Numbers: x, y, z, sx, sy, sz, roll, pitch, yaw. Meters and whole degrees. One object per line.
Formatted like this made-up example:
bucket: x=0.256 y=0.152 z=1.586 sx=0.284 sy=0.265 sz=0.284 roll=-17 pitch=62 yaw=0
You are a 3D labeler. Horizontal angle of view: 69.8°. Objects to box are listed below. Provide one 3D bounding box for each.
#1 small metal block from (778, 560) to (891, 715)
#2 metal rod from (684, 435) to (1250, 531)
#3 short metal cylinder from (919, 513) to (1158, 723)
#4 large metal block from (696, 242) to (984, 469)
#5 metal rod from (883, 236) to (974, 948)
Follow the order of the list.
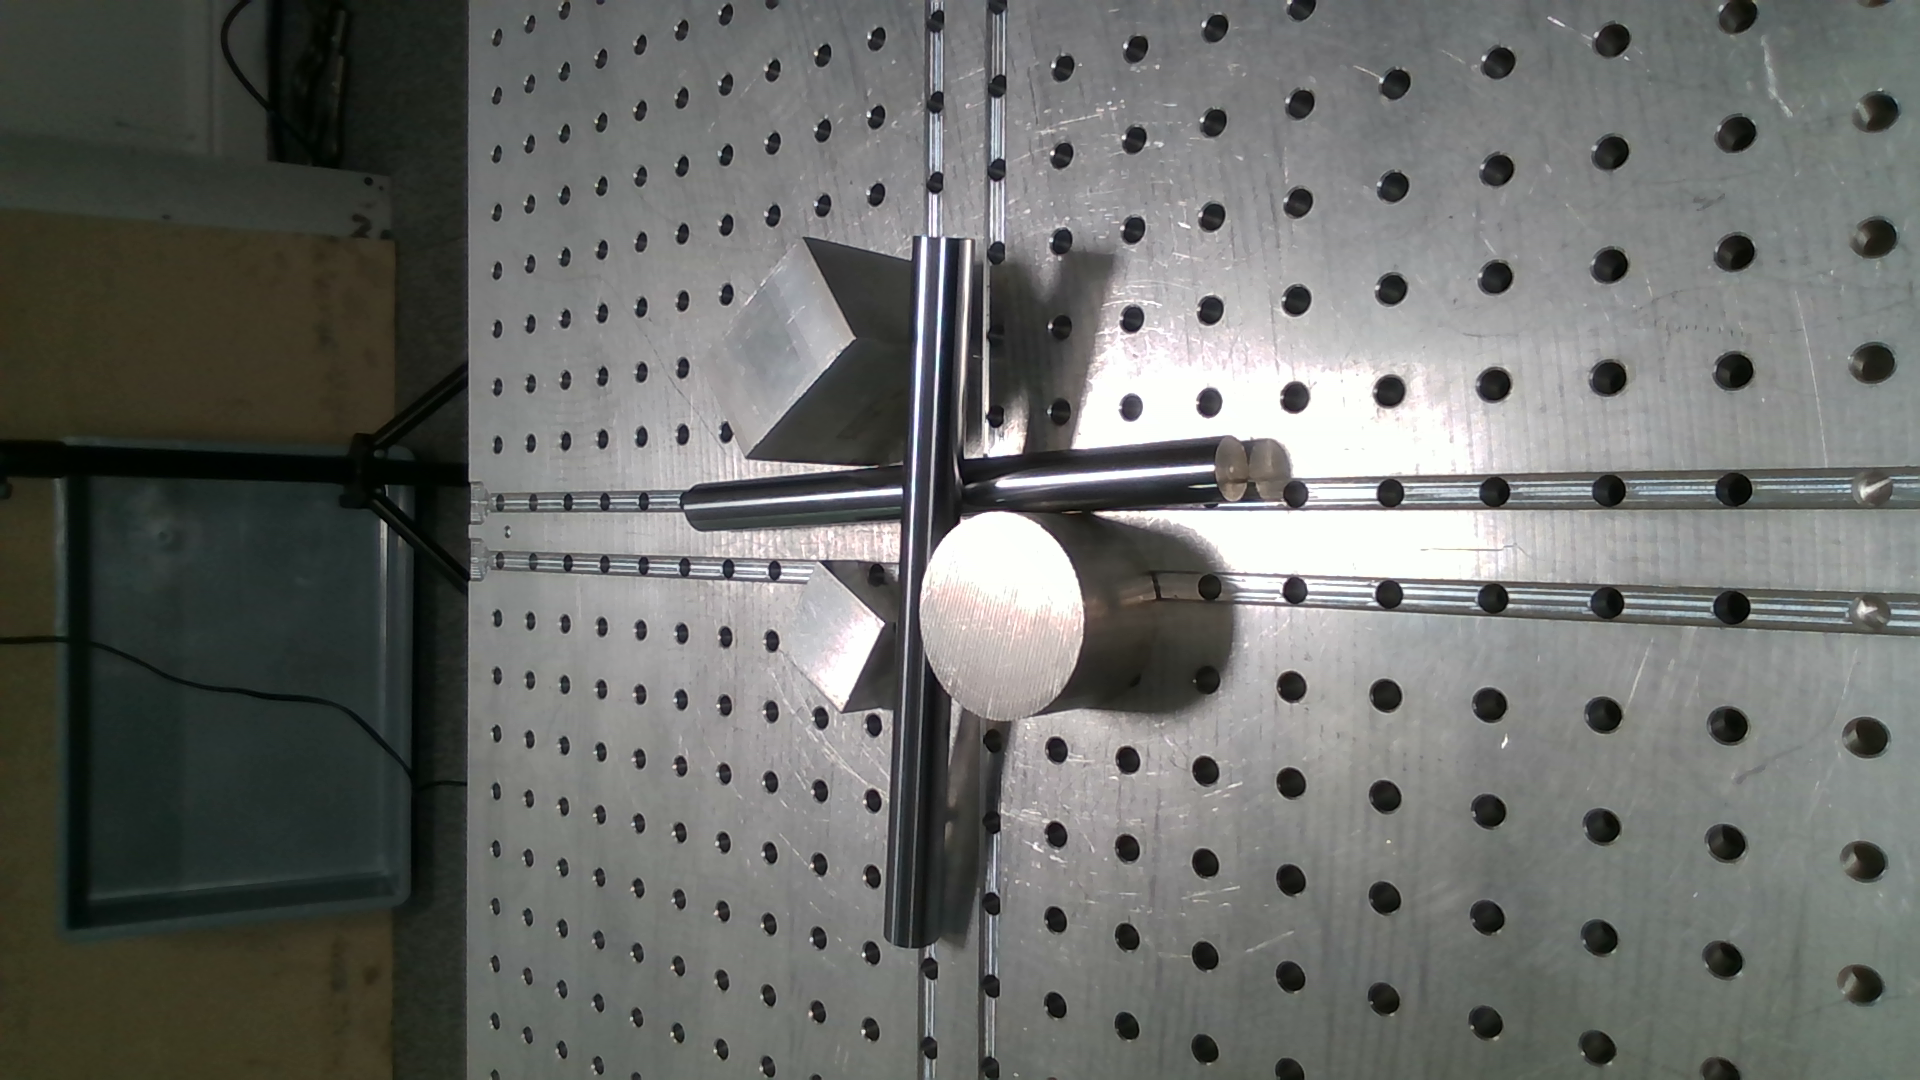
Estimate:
small metal block: x=-0.050 y=0.044 z=0.629 sx=0.050 sy=0.025 sz=0.050 roll=40 pitch=115 yaw=33
metal rod: x=-0.015 y=-0.021 z=0.598 sx=0.300 sy=0.025 sz=0.025 roll=-2 pitch=89 yaw=40
short metal cylinder: x=0.030 y=0.030 z=0.543 sx=0.080 sy=0.050 sz=0.080 roll=0 pitch=91 yaw=40
large metal block: x=-0.052 y=-0.075 z=0.590 sx=0.080 sy=0.080 sz=0.050 roll=-42 pitch=64 yaw=32
metal rod: x=-0.014 y=0.028 z=0.573 sx=0.025 sy=0.025 sz=0.300 roll=14 pitch=107 yaw=39
